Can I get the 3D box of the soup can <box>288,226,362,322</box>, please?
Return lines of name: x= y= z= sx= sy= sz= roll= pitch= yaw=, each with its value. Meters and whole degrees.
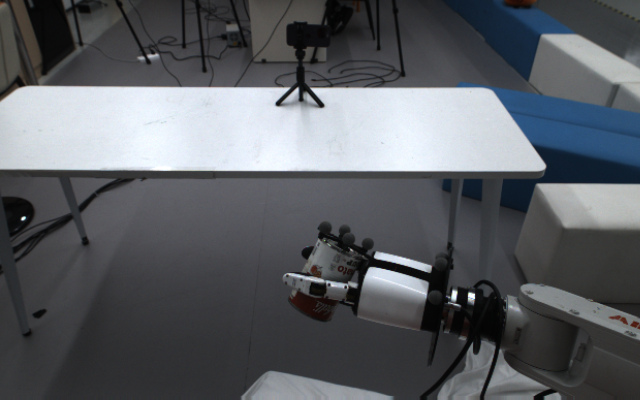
soup can: x=0.008 y=0.108 z=0.670 sx=0.067 sy=0.101 sz=0.067 roll=26 pitch=5 yaw=-3
